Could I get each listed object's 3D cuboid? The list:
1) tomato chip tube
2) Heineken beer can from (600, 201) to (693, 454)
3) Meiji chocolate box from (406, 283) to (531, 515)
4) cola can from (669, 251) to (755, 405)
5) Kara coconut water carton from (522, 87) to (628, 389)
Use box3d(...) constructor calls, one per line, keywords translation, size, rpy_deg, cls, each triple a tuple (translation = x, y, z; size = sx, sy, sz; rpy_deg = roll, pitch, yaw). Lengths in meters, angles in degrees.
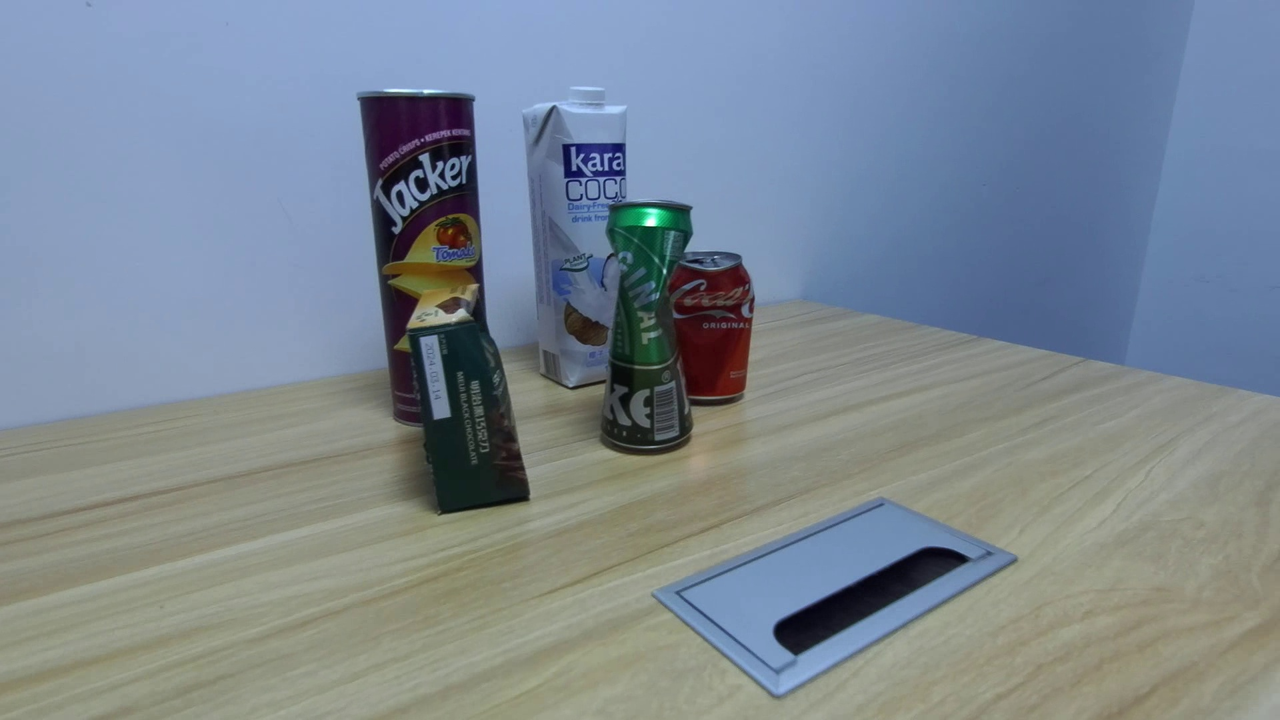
box3d(translation=(-0.154, -0.072, 0.528), size=(0.080, 0.234, 0.076), rpy_deg=(-6, 14, -17), cls="tomato chip tube")
box3d(translation=(0.004, -0.022, 0.476), size=(0.065, 0.164, 0.078), rpy_deg=(12, 15, 43), cls="Heineken beer can")
box3d(translation=(-0.108, 0.021, 0.435), size=(0.058, 0.110, 0.113), rpy_deg=(-9, 14, -18), cls="Meiji chocolate box")
box3d(translation=(0.056, -0.028, 0.573), size=(0.072, 0.117, 0.065), rpy_deg=(2, 17, 9), cls="cola can")
box3d(translation=(-0.051, -0.103, 0.609), size=(0.077, 0.245, 0.075), rpy_deg=(-10, 17, -31), cls="Kara coconut water carton")
